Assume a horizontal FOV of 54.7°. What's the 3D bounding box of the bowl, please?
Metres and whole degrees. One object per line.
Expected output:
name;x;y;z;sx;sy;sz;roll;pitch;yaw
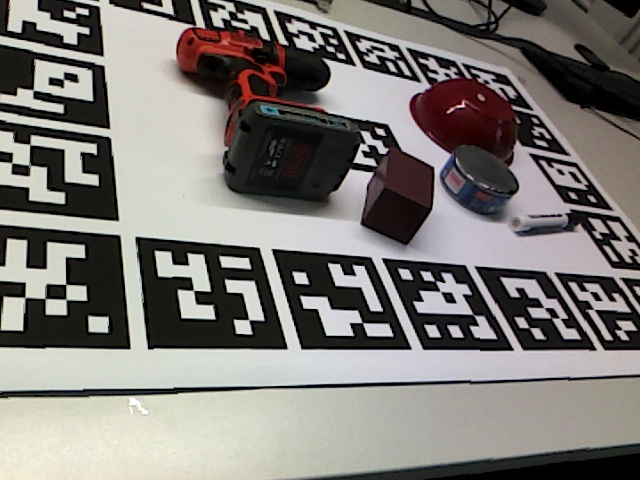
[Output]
bowl;0.198;-0.165;0.836;0.161;0.055;0.162;15;36;-11

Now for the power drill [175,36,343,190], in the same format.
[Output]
power drill;-0.046;-0.133;0.635;0.183;0.057;0.188;6;42;-32

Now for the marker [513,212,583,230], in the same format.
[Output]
marker;0.277;-0.024;0.744;0.120;0.019;0.020;-4;51;-36

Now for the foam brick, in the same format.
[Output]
foam brick;0.083;-0.039;0.624;0.051;0.053;0.078;23;40;-12

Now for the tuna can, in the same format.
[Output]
tuna can;0.191;-0.073;0.732;0.085;0.034;0.086;19;39;-17
